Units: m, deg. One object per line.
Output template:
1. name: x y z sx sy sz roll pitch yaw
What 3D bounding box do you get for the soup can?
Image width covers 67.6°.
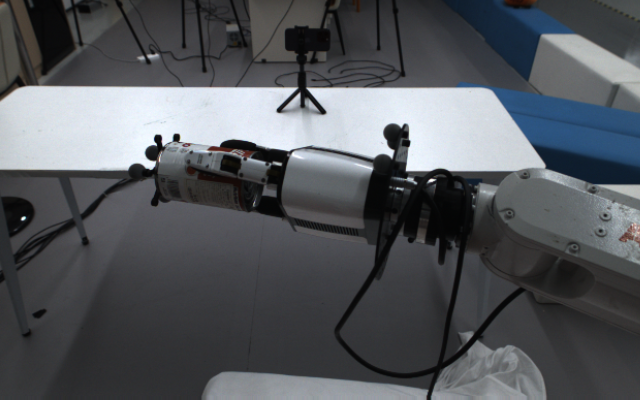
1. soup can: -0.117 -0.025 0.533 0.101 0.067 0.067 8 35 11
